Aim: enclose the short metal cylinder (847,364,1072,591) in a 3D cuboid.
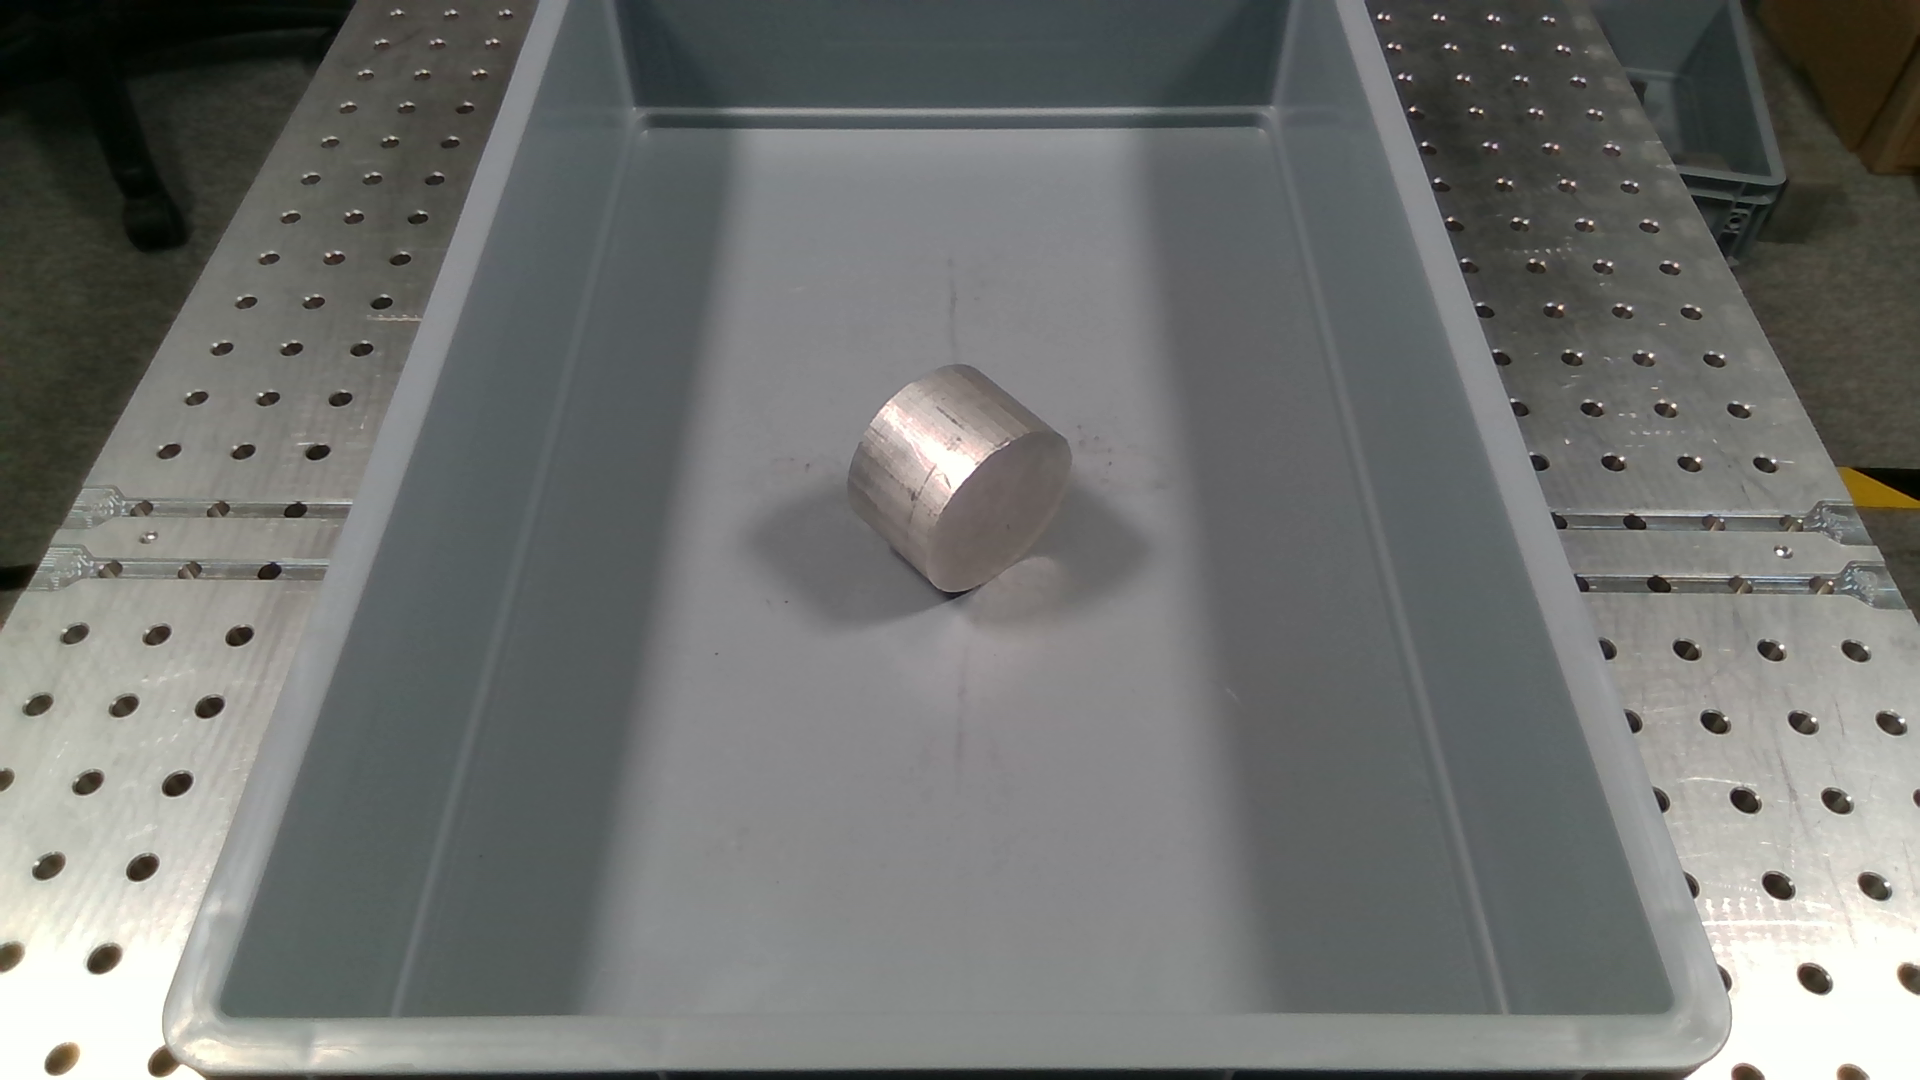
[{"bbox_3d":[0.000,-0.026,0.570,0.080,0.080,0.050,-34,58,-25],"label":"short metal cylinder"}]
